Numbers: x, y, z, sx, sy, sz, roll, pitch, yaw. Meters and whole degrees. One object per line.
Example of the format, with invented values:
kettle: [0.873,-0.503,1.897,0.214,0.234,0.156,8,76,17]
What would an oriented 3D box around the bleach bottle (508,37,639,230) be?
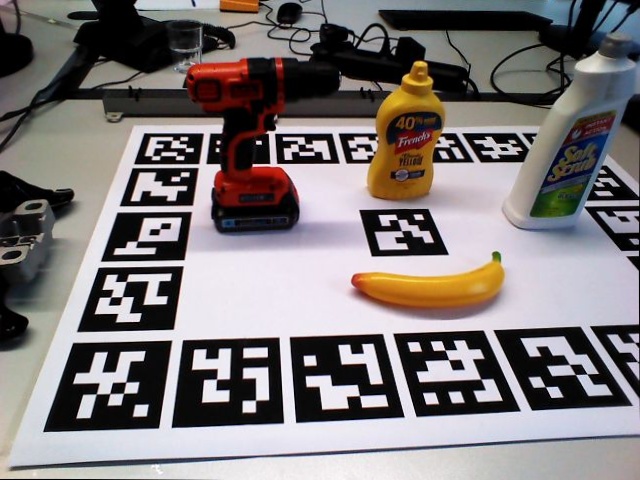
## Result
bleach bottle: [0.329,-0.128,0.660,0.103,0.252,0.067,5,41,0]

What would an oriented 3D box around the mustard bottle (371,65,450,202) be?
mustard bottle: [0.131,-0.144,0.711,0.096,0.192,0.058,-5,42,-13]

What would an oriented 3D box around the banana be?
banana: [0.142,0.045,0.594,0.197,0.039,0.074,-6,44,-7]

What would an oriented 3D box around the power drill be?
power drill: [-0.051,-0.135,0.638,0.184,0.188,0.057,-7,42,-7]
